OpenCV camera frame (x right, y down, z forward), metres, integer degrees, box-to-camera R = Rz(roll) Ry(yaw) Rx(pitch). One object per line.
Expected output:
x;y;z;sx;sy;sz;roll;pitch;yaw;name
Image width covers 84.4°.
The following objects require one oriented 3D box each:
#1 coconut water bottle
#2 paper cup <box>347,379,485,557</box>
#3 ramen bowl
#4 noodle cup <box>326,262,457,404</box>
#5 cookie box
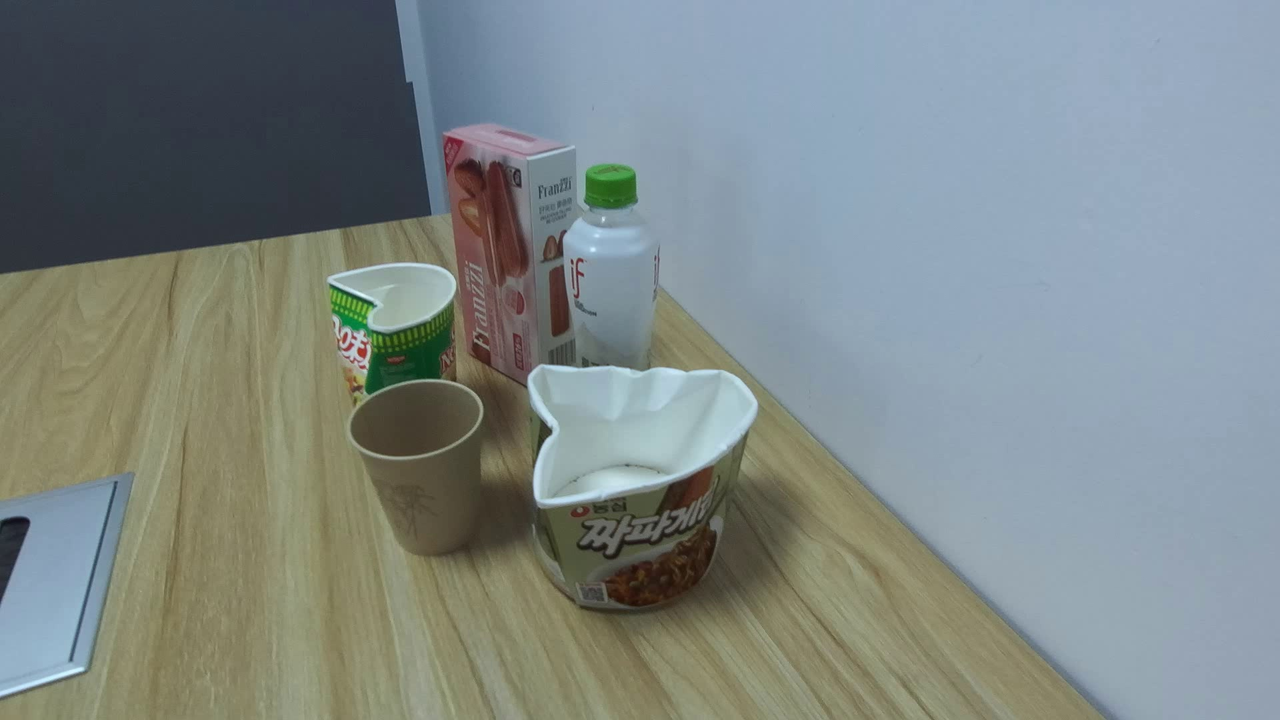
-0.018;-0.030;0.467;0.063;0.189;0.063;0;29;0;coconut water bottle
-0.125;0.066;0.417;0.075;0.082;0.075;1;32;0;paper cup
0.002;0.065;0.403;0.134;0.097;0.113;-8;34;-12;ramen bowl
-0.163;0.002;0.490;0.087;0.109;0.093;-9;34;-14;noodle cup
-0.094;-0.076;0.543;0.095;0.185;0.048;25;38;35;cookie box
